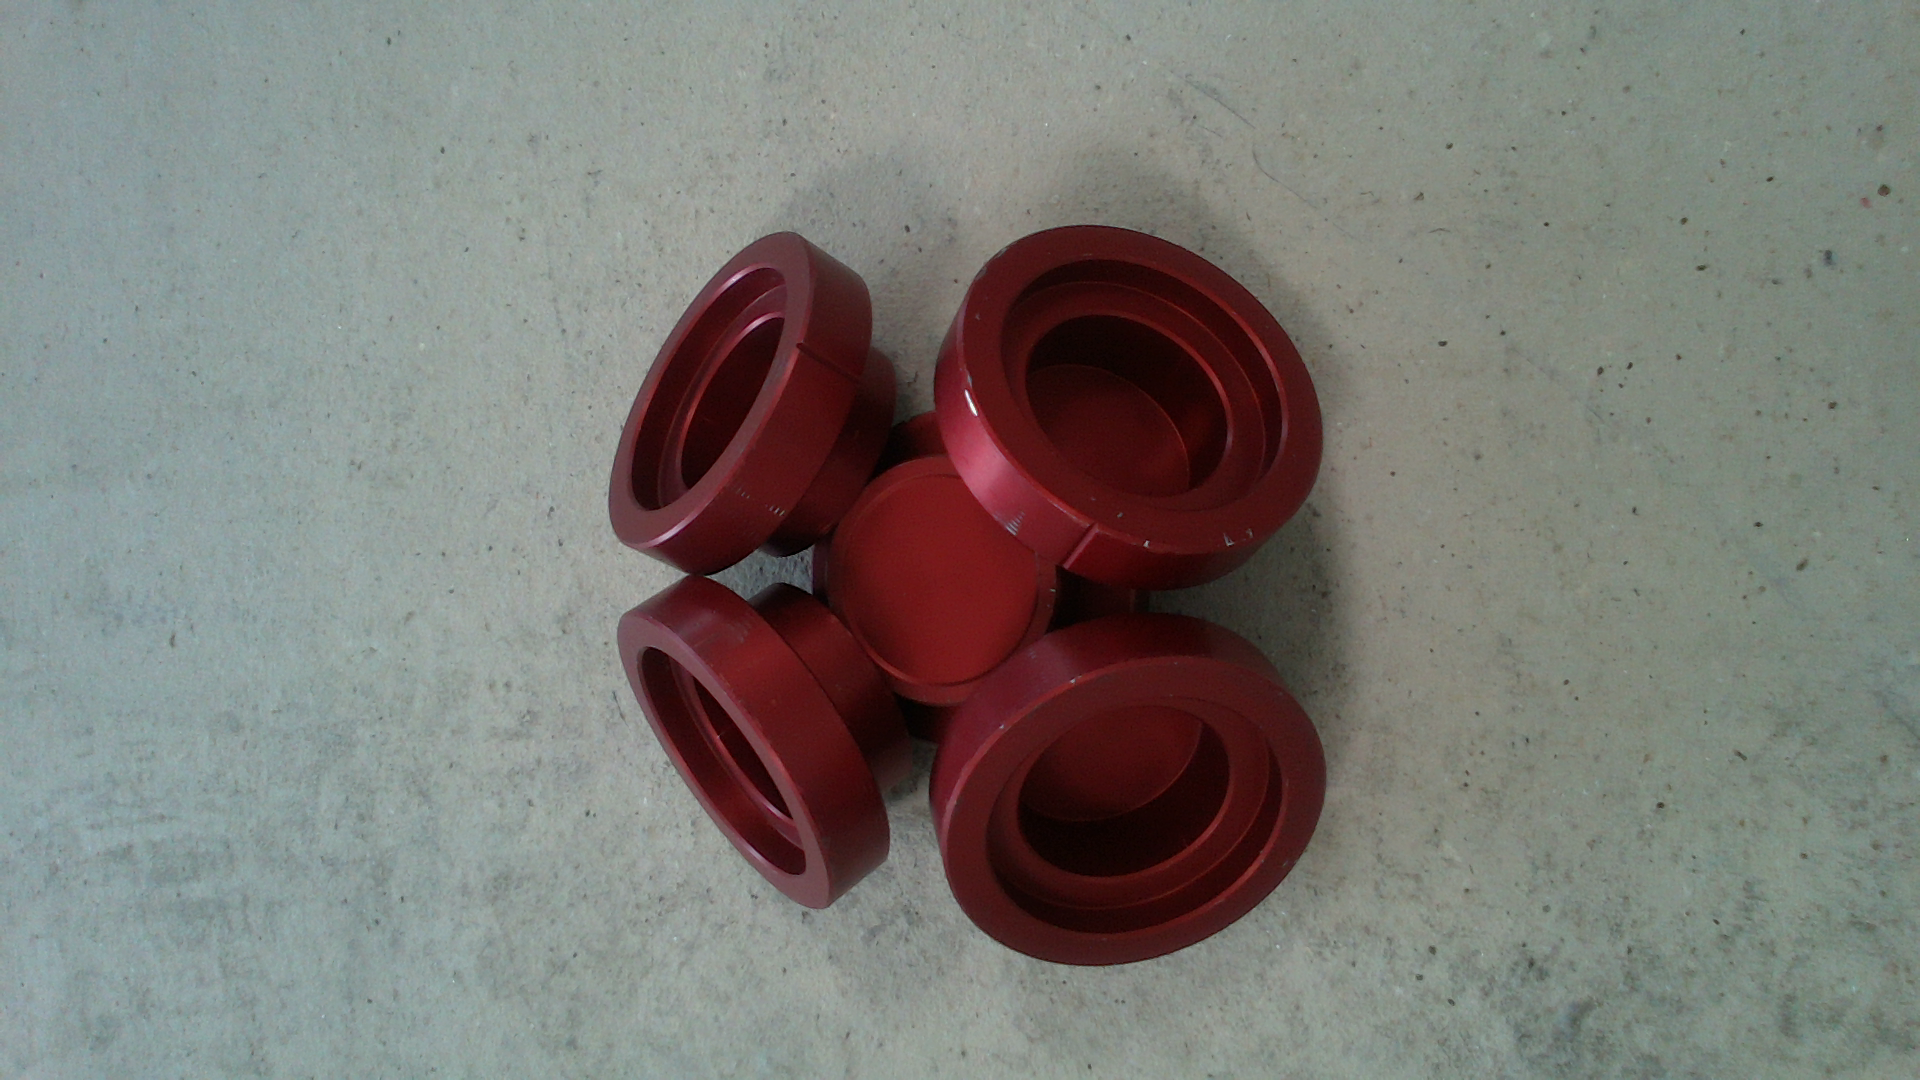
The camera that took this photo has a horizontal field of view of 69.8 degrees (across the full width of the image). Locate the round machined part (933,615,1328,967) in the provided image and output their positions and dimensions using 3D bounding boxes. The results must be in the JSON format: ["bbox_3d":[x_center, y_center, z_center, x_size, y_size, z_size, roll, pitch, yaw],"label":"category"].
[{"bbox_3d":[0.040,0.060,0.355,0.098,0.042,0.098,-6,121,-10],"label":"round machined part"}]

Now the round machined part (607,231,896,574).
[{"bbox_3d":[-0.055,-0.034,0.390,0.098,0.042,0.098,-34,41,36],"label":"round machined part"}]

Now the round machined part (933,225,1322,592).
[{"bbox_3d":[0.039,-0.030,0.354,0.098,0.098,0.042,52,146,13],"label":"round machined part"}]

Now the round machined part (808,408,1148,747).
[{"bbox_3d":[0.001,0.010,0.386,0.098,0.042,0.098,-1,88,19],"label":"round machined part"}]

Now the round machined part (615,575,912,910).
[{"bbox_3d":[-0.051,0.051,0.387,0.042,0.098,0.098,-34,75,-28],"label":"round machined part"}]
